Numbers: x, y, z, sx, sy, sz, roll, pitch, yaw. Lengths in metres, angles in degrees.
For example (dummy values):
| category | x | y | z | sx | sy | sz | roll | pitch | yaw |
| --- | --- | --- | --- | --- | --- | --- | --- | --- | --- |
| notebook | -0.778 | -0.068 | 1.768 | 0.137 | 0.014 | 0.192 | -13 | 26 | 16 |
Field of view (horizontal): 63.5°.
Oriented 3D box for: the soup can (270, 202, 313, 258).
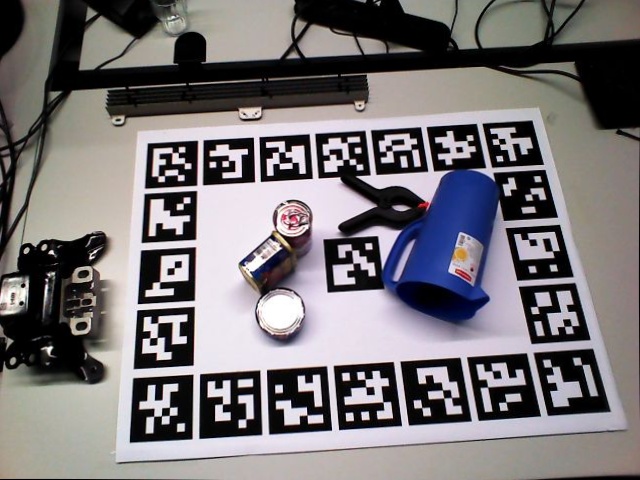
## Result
| category | x | y | z | sx | sy | sz | roll | pitch | yaw |
| --- | --- | --- | --- | --- | --- | --- | --- | --- | --- |
| soup can | -0.048 | -0.015 | 0.908 | 0.068 | 0.102 | 0.067 | -1 | 70 | 2 |

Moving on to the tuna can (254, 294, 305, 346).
| category | x | y | z | sx | sy | sz | roll | pitch | yaw |
| --- | --- | --- | --- | --- | --- | --- | --- | --- | --- |
| tuna can | -0.068 | 0.137 | 0.884 | 0.086 | 0.034 | 0.085 | 0 | 71 | 0 |

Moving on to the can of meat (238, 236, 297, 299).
| category | x | y | z | sx | sy | sz | roll | pitch | yaw |
| --- | --- | --- | --- | --- | --- | --- | --- | --- | --- |
| can of meat | -0.091 | 0.050 | 0.879 | 0.083 | 0.102 | 0.058 | -38 | 74 | -10 |

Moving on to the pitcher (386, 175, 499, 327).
| category | x | y | z | sx | sy | sz | roll | pitch | yaw |
| --- | --- | --- | --- | --- | --- | --- | --- | --- | --- |
| pitcher | 0.225 | 0.012 | 0.874 | 0.190 | 0.133 | 0.241 | 8 | 60 | 27 |

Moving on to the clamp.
| category | x | y | z | sx | sy | sz | roll | pitch | yaw |
| --- | --- | --- | --- | --- | --- | --- | --- | --- | --- |
| clamp | 0.106 | -0.062 | 0.970 | 0.165 | 0.037 | 0.121 | 0 | 65 | -3 |
